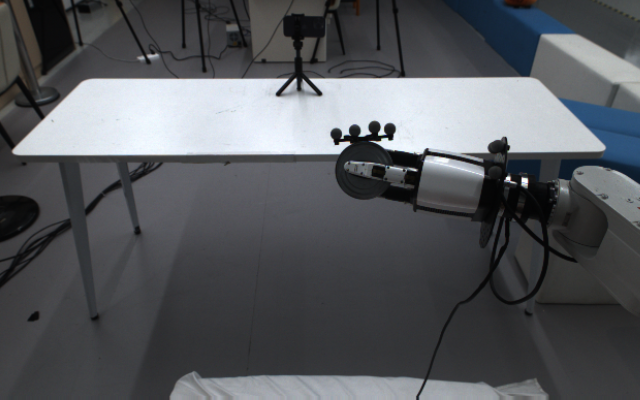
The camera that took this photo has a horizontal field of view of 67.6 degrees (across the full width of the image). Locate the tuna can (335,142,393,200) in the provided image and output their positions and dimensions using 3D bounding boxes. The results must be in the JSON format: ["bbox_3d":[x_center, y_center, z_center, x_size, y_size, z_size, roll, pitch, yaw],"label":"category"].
[{"bbox_3d":[0.067,-0.044,0.717,0.085,0.085,0.034,11,1,12],"label":"tuna can"}]
